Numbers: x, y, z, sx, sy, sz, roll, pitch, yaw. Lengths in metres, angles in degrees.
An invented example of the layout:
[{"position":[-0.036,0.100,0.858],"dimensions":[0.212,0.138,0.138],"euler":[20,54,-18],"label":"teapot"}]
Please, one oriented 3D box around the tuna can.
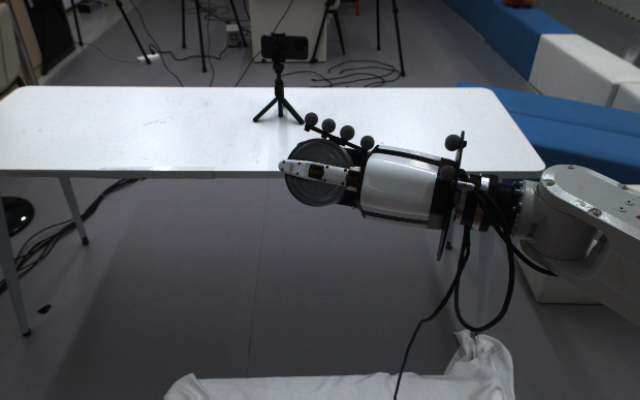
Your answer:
[{"position":[0.002,-0.036,0.618],"dimensions":[0.085,0.085,0.034],"euler":[13,3,15],"label":"tuna can"}]
